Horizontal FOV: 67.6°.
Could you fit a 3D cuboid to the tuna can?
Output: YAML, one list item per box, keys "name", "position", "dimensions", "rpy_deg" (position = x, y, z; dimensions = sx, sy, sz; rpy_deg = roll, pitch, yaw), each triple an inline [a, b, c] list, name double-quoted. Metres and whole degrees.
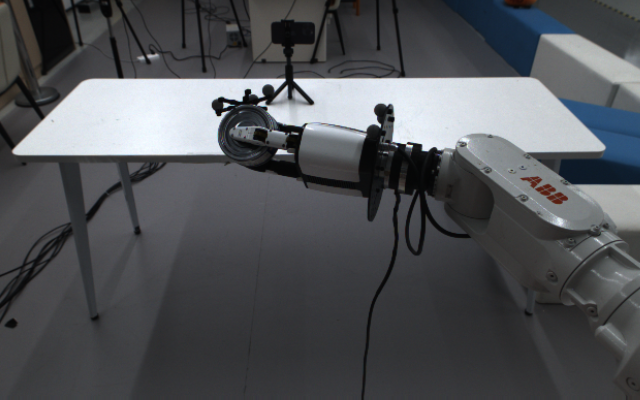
- name: "tuna can"
  position: [-0.098, -0.087, 0.689]
  dimensions: [0.085, 0.085, 0.034]
  rpy_deg: [12, -5, 15]
